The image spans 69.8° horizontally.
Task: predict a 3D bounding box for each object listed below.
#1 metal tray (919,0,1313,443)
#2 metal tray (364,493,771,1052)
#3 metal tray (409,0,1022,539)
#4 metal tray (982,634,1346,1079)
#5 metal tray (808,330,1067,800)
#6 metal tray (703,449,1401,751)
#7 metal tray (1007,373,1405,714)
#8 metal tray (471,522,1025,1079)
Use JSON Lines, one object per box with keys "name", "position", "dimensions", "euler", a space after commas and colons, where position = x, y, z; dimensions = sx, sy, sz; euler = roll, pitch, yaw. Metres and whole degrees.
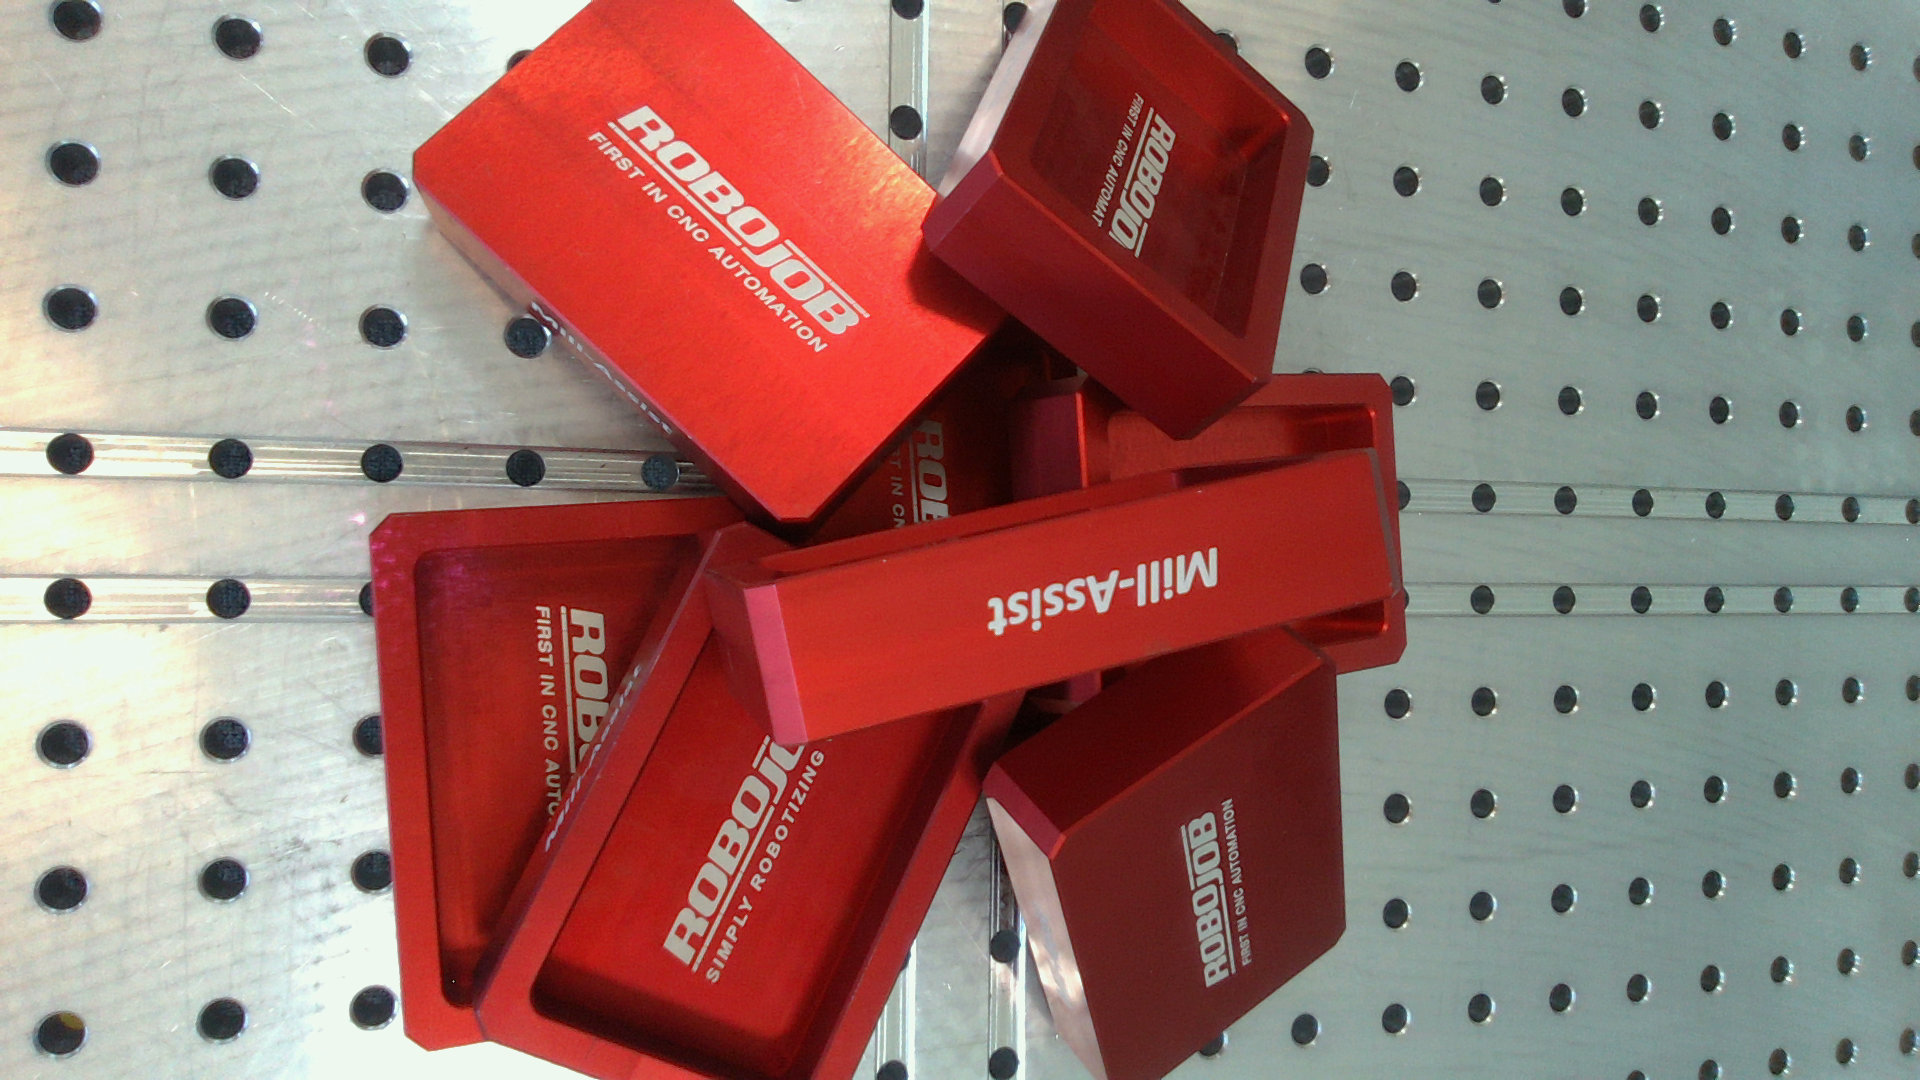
{"name": "metal tray", "position": [0.049, -0.099, 0.375], "dimensions": [0.090, 0.030, 0.130], "euler": [35, 46, -16]}
{"name": "metal tray", "position": [-0.100, 0.056, 0.357], "dimensions": [0.090, 0.030, 0.130], "euler": [-5, 91, -21]}
{"name": "metal tray", "position": [-0.060, -0.075, 0.353], "dimensions": [0.130, 0.030, 0.090], "euler": [43, 76, 1]}
{"name": "metal tray", "position": [0.062, 0.090, 0.381], "dimensions": [0.090, 0.030, 0.130], "euler": [-30, 133, -17]}
{"name": "metal tray", "position": [-0.010, 0.003, 0.389], "dimensions": [0.090, 0.030, 0.130], "euler": [-5, 90, -22]}
{"name": "metal tray", "position": [0.014, 0.009, 0.298], "dimensions": [0.130, 0.090, 0.030], "euler": [-12, 94, -15]}
{"name": "metal tray", "position": [0.076, -0.002, 0.401], "dimensions": [0.131, 0.030, 0.090], "euler": [-5, 92, -37]}
{"name": "metal tray", "position": [-0.050, 0.072, 0.342], "dimensions": [0.090, 0.030, 0.130], "euler": [28, 81, -18]}
